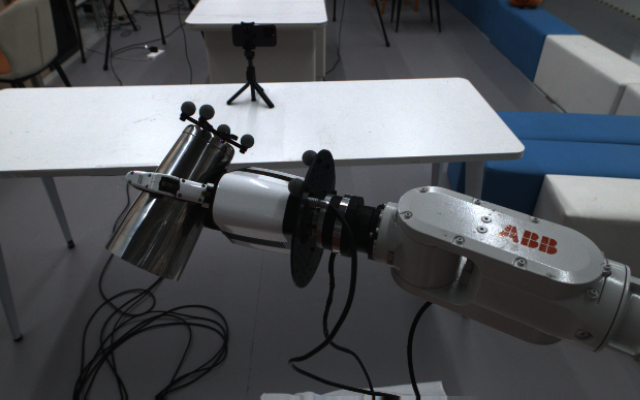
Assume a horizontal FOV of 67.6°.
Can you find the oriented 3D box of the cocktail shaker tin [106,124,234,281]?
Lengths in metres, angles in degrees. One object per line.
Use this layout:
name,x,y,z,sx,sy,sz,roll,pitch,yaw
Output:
cocktail shaker tin,-0.169,-0.003,0.580,0.093,0.093,0.170,21,81,26
